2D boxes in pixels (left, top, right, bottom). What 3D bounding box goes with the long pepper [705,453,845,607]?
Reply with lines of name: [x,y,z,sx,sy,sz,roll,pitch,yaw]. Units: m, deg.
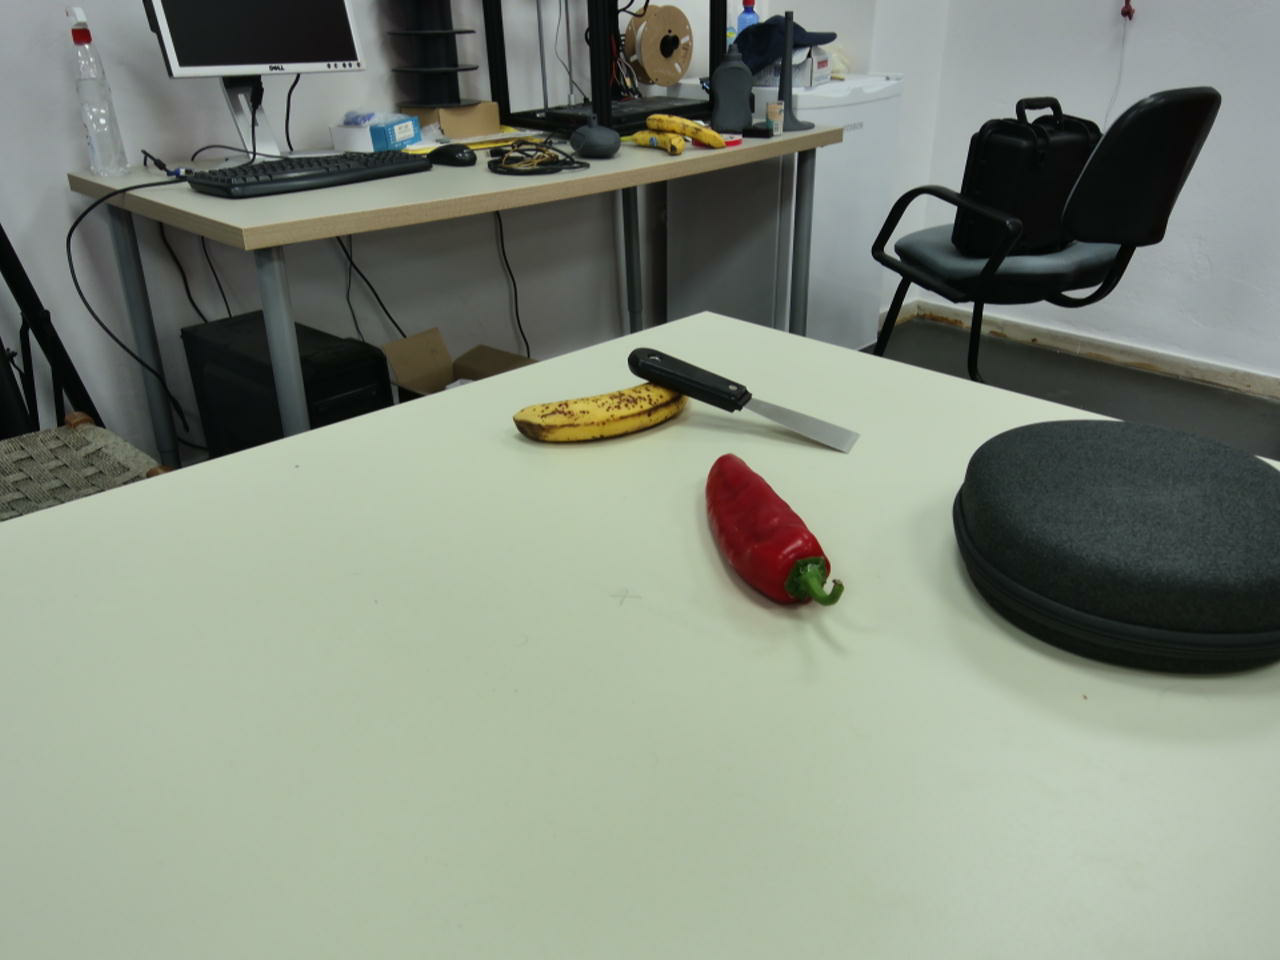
long pepper: [0.072,0.027,0.609,0.050,0.043,0.211,-4,25,-9]
